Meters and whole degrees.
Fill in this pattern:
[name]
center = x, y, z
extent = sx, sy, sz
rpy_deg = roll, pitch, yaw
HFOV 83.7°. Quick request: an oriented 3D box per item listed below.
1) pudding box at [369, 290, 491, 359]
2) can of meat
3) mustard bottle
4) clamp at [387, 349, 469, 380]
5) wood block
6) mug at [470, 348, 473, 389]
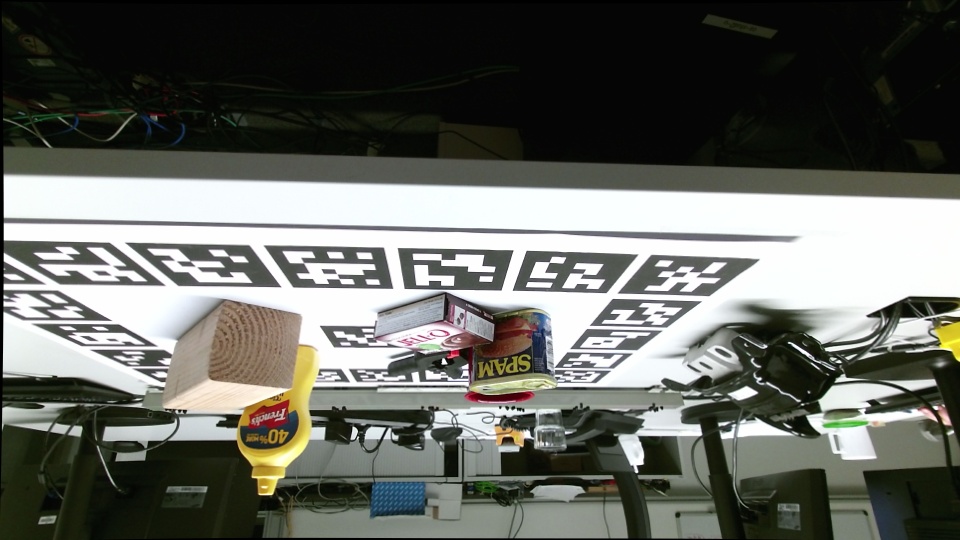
[pudding box]
center = -0.057, 0.066, 0.621
extent = 0.114, 0.038, 0.090
rpy_deg = -18, 148, 33
[can of meat]
center = 0.040, 0.101, 0.633
extent = 0.102, 0.083, 0.058
rpy_deg = -14, 149, 24
[mustard bottle]
center = -0.275, 0.210, 0.727
extent = 0.096, 0.190, 0.058
rpy_deg = -2, 153, 1
[clamp]
center = -0.062, 0.138, 0.774
extent = 0.122, 0.036, 0.165
rpy_deg = 11, 149, -19
[wood block]
center = -0.312, 0.113, 0.657
extent = 0.090, 0.090, 0.206
rpy_deg = 18, 149, -37
[mug]
center = 0.023, 0.125, 0.741
extent = 0.094, 0.081, 0.117
rpy_deg = 11, 149, -23
